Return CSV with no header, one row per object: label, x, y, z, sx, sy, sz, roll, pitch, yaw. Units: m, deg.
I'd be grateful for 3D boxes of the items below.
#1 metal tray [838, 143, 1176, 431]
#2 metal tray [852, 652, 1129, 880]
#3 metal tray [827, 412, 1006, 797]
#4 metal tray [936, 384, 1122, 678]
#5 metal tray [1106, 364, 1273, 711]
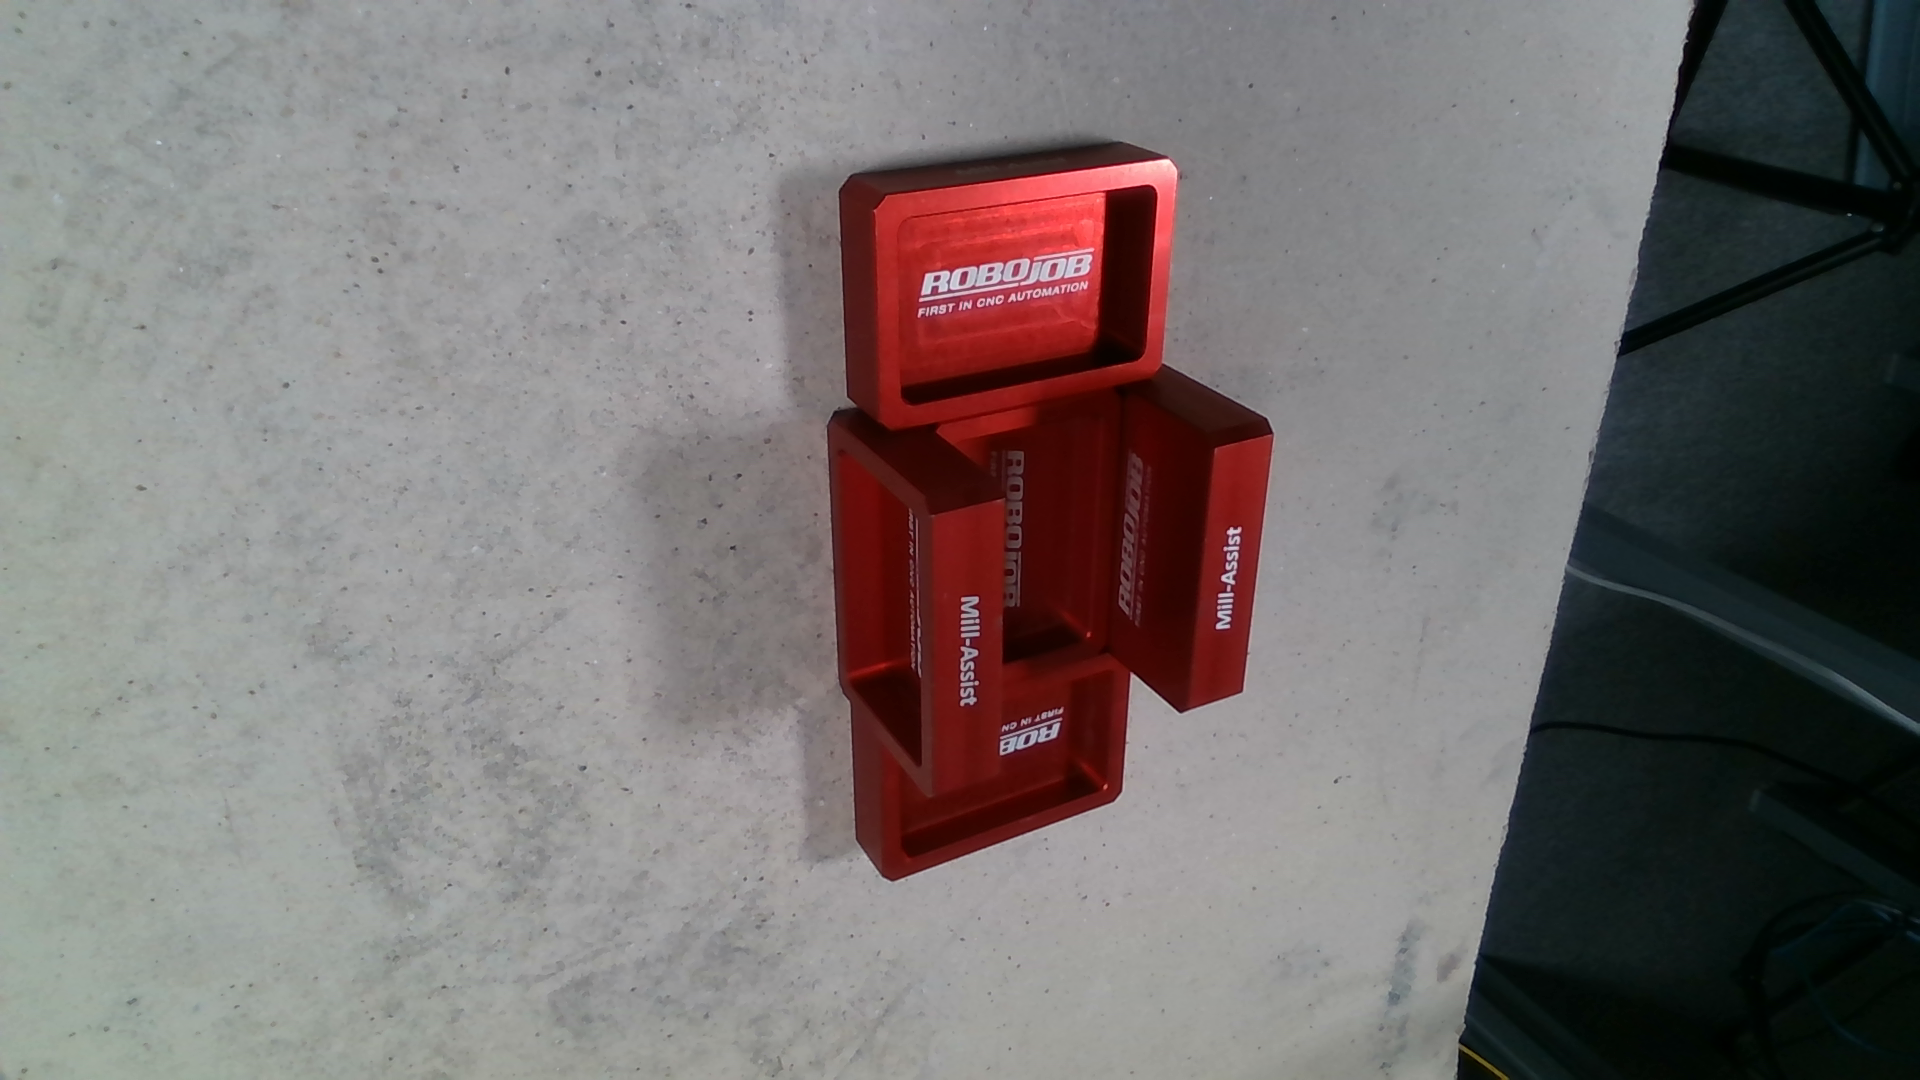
metal tray,0.019,-0.100,0.535,0.130,0.030,0.090,-14,121,-25
metal tray,0.015,0.095,0.639,0.130,0.030,0.090,-14,121,-25
metal tray,-0.018,0.023,0.538,0.030,0.090,0.130,-14,121,-25
metal tray,0.020,-0.004,0.588,0.090,0.030,0.130,-14,121,-25
metal tray,0.087,-0.004,0.590,0.030,0.090,0.130,-14,121,-25
